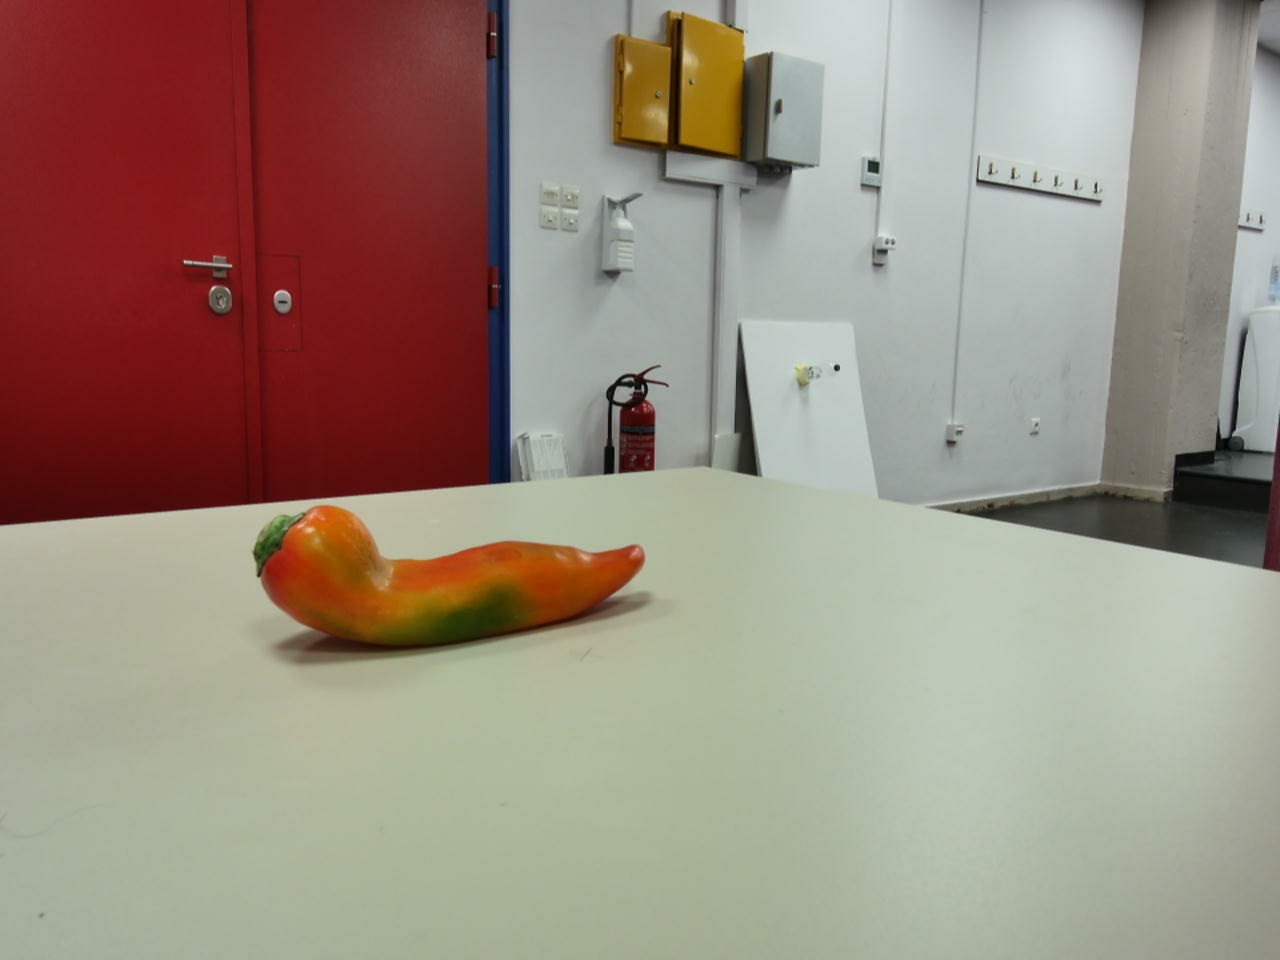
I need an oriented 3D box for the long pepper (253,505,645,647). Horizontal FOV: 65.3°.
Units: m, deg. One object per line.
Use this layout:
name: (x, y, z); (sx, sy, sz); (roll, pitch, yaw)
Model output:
long pepper: (-0.079, 0.039, 0.480); (0.199, 0.065, 0.066); (-4, 7, -32)
